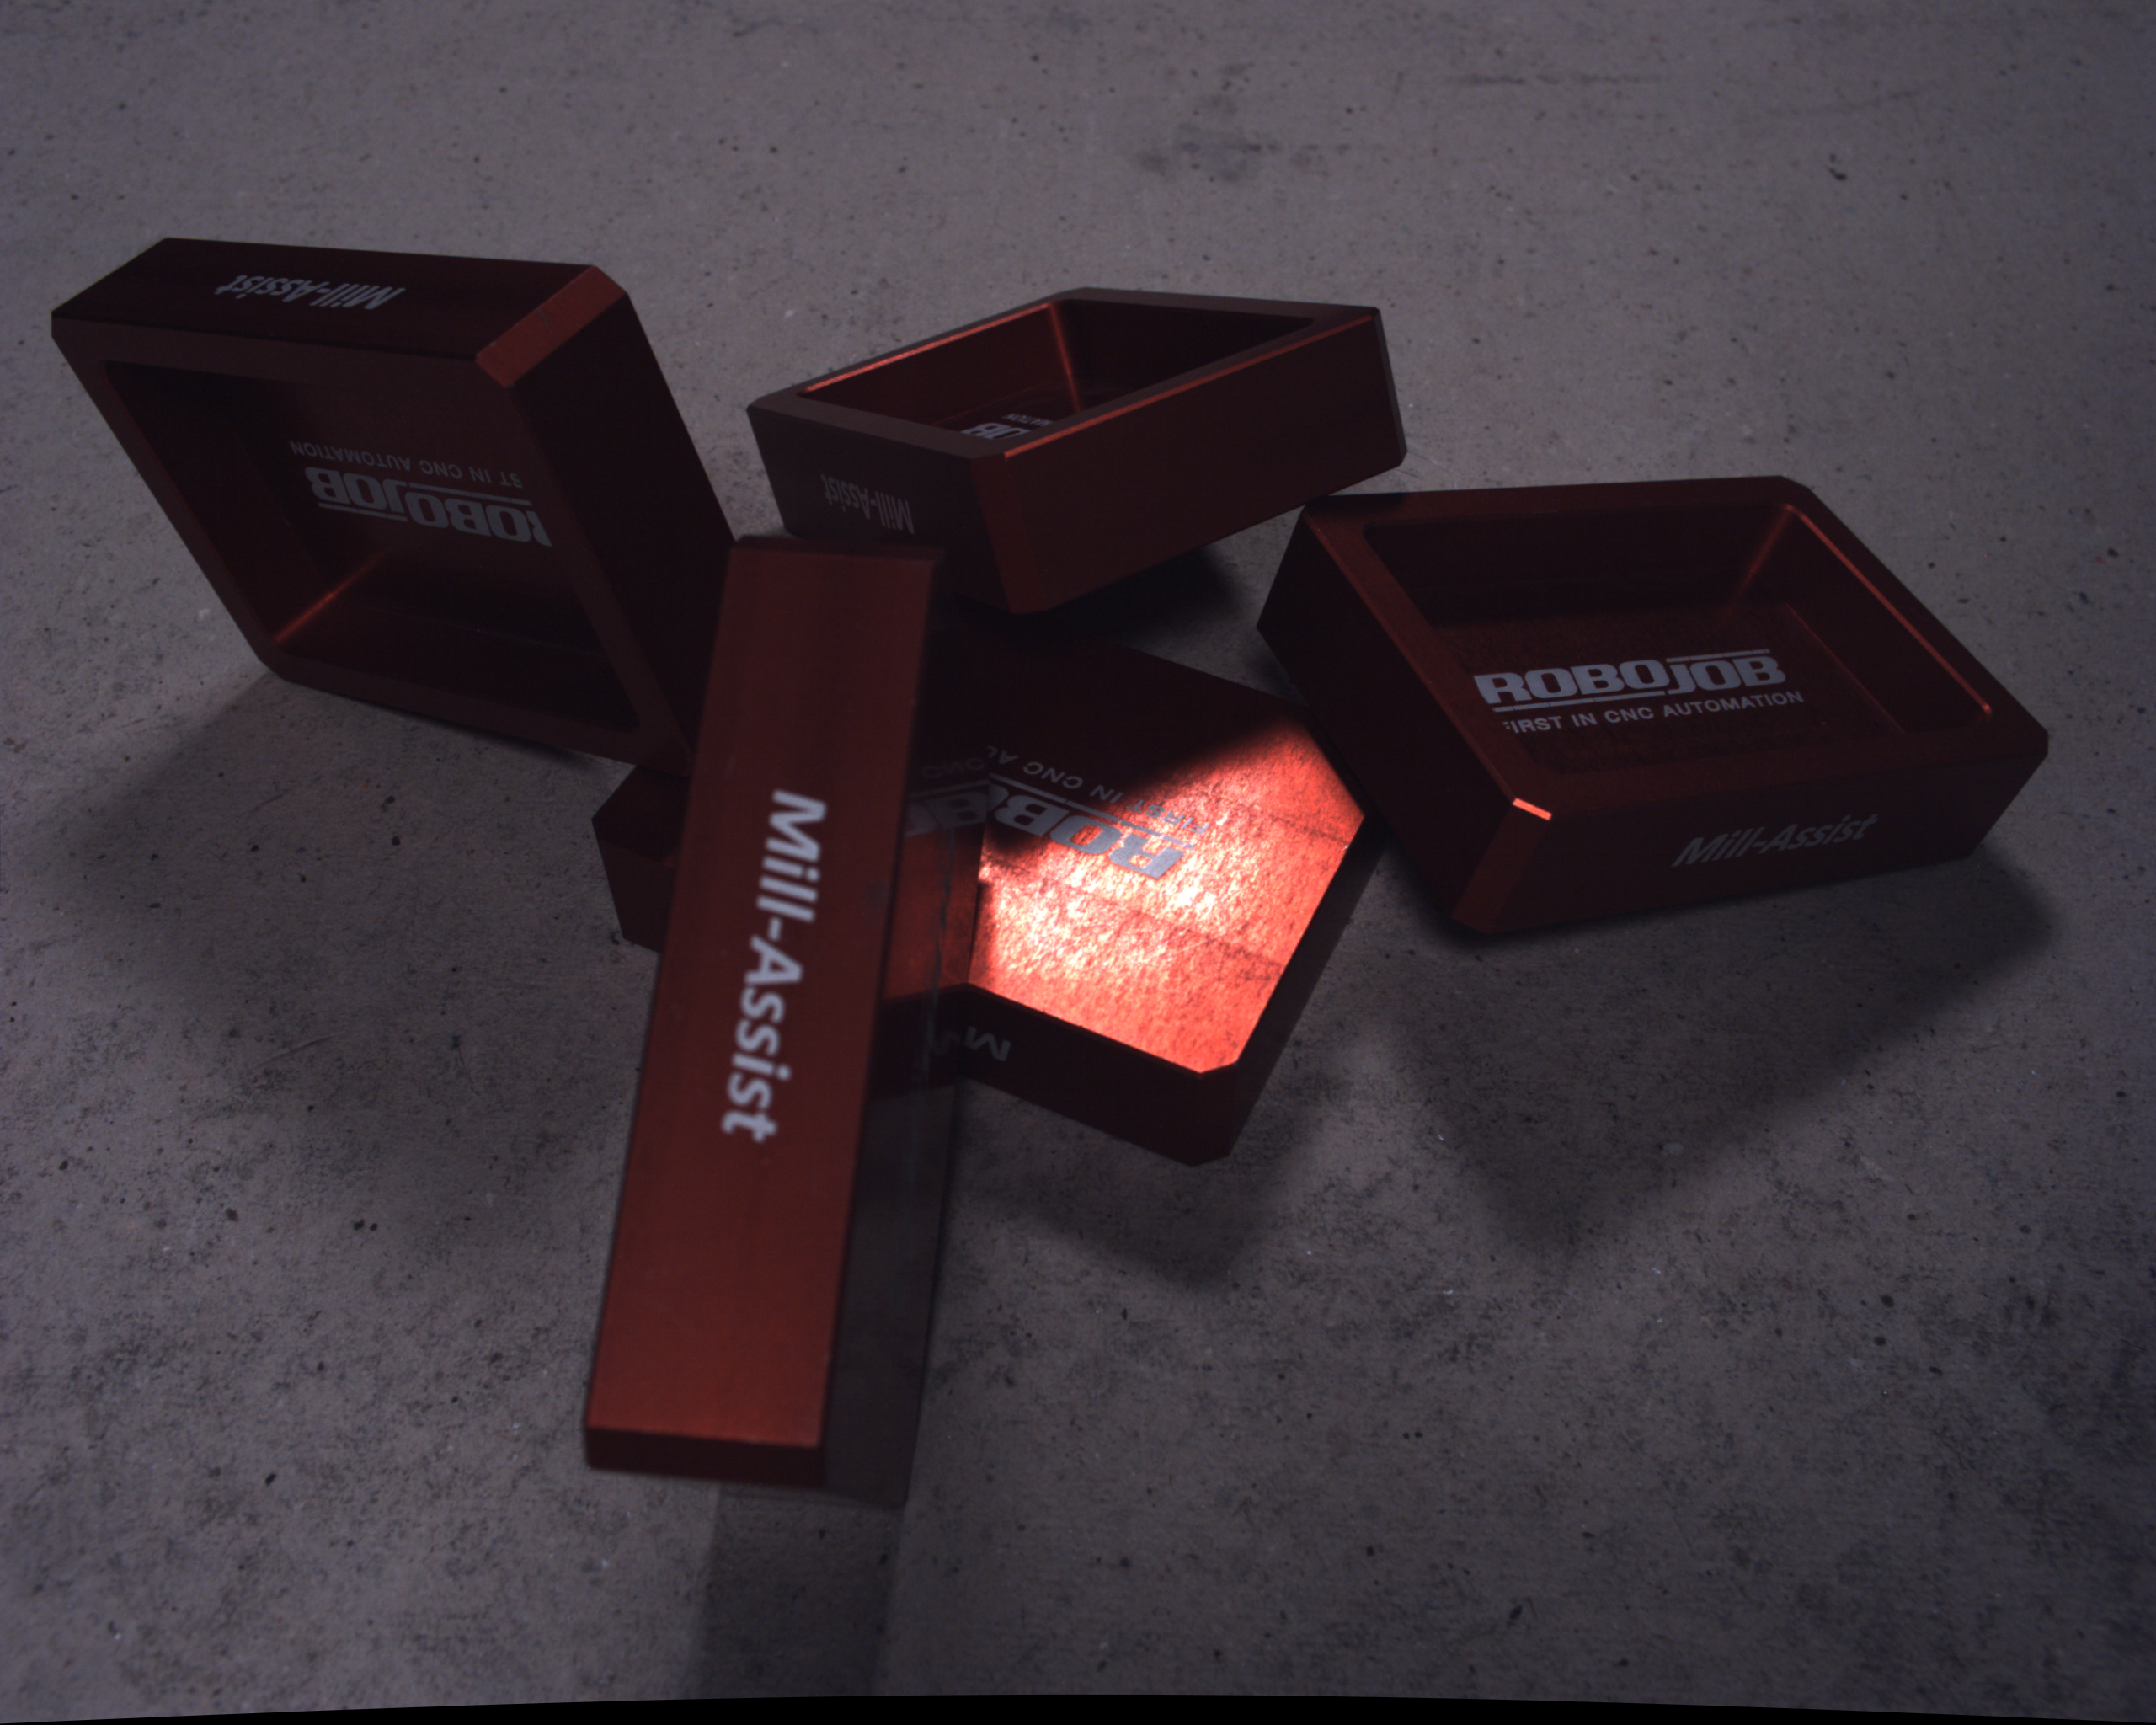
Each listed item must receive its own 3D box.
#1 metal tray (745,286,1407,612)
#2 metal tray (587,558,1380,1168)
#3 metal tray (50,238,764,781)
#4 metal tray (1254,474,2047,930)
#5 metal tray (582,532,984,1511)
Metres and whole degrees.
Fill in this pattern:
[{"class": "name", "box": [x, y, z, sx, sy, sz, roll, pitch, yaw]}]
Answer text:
[{"class": "metal tray", "box": [-0.005, -0.092, 0.440, 0.091, 0.030, 0.130, -25, 26, -20]}, {"class": "metal tray", "box": [-0.015, -0.005, 0.405, 0.130, 0.030, 0.090, 20, 53, 15]}, {"class": "metal tray", "box": [-0.127, -0.069, 0.399, 0.130, 0.090, 0.030, 14, 50, 32]}, {"class": "metal tray", "box": [0.112, -0.036, 0.412, 0.131, 0.030, 0.090, -7, 49, -26]}, {"class": "metal tray", "box": [-0.038, 0.028, 0.313, 0.030, 0.090, 0.130, 4, 71, 4]}]
